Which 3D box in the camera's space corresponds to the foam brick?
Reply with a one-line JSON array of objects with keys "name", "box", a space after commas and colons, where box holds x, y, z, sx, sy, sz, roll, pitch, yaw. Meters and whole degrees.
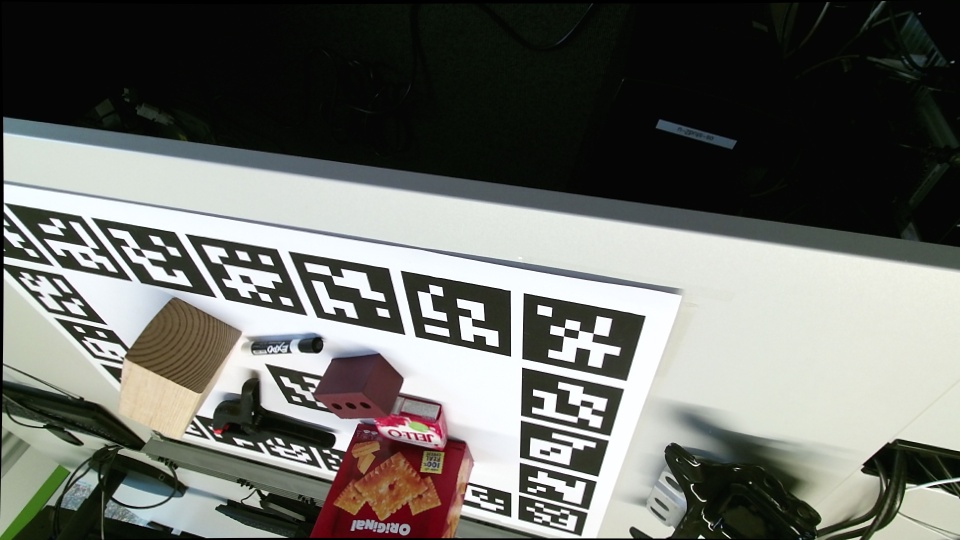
[{"name": "foam brick", "box": [-0.139, 0.134, 0.611, 0.078, 0.051, 0.053, -11, 126, 28]}]

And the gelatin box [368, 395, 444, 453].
[{"name": "gelatin box", "box": [-0.093, 0.190, 0.669, 0.089, 0.030, 0.073, 8, 133, 12]}]

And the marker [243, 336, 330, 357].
[{"name": "marker", "box": [-0.223, 0.089, 0.618, 0.121, 0.019, 0.020, -7, 128, 25]}]

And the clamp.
[{"name": "clamp", "box": [-0.338, 0.232, 0.787, 0.203, 0.036, 0.166, -17, 124, 31]}]

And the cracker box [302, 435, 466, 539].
[{"name": "cracker box", "box": [-0.128, 0.327, 0.672, 0.164, 0.213, 0.072, 7, 135, 16]}]

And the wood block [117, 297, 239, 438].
[{"name": "wood block", "box": [-0.386, 0.133, 0.675, 0.090, 0.090, 0.206, 32, 137, -15]}]
